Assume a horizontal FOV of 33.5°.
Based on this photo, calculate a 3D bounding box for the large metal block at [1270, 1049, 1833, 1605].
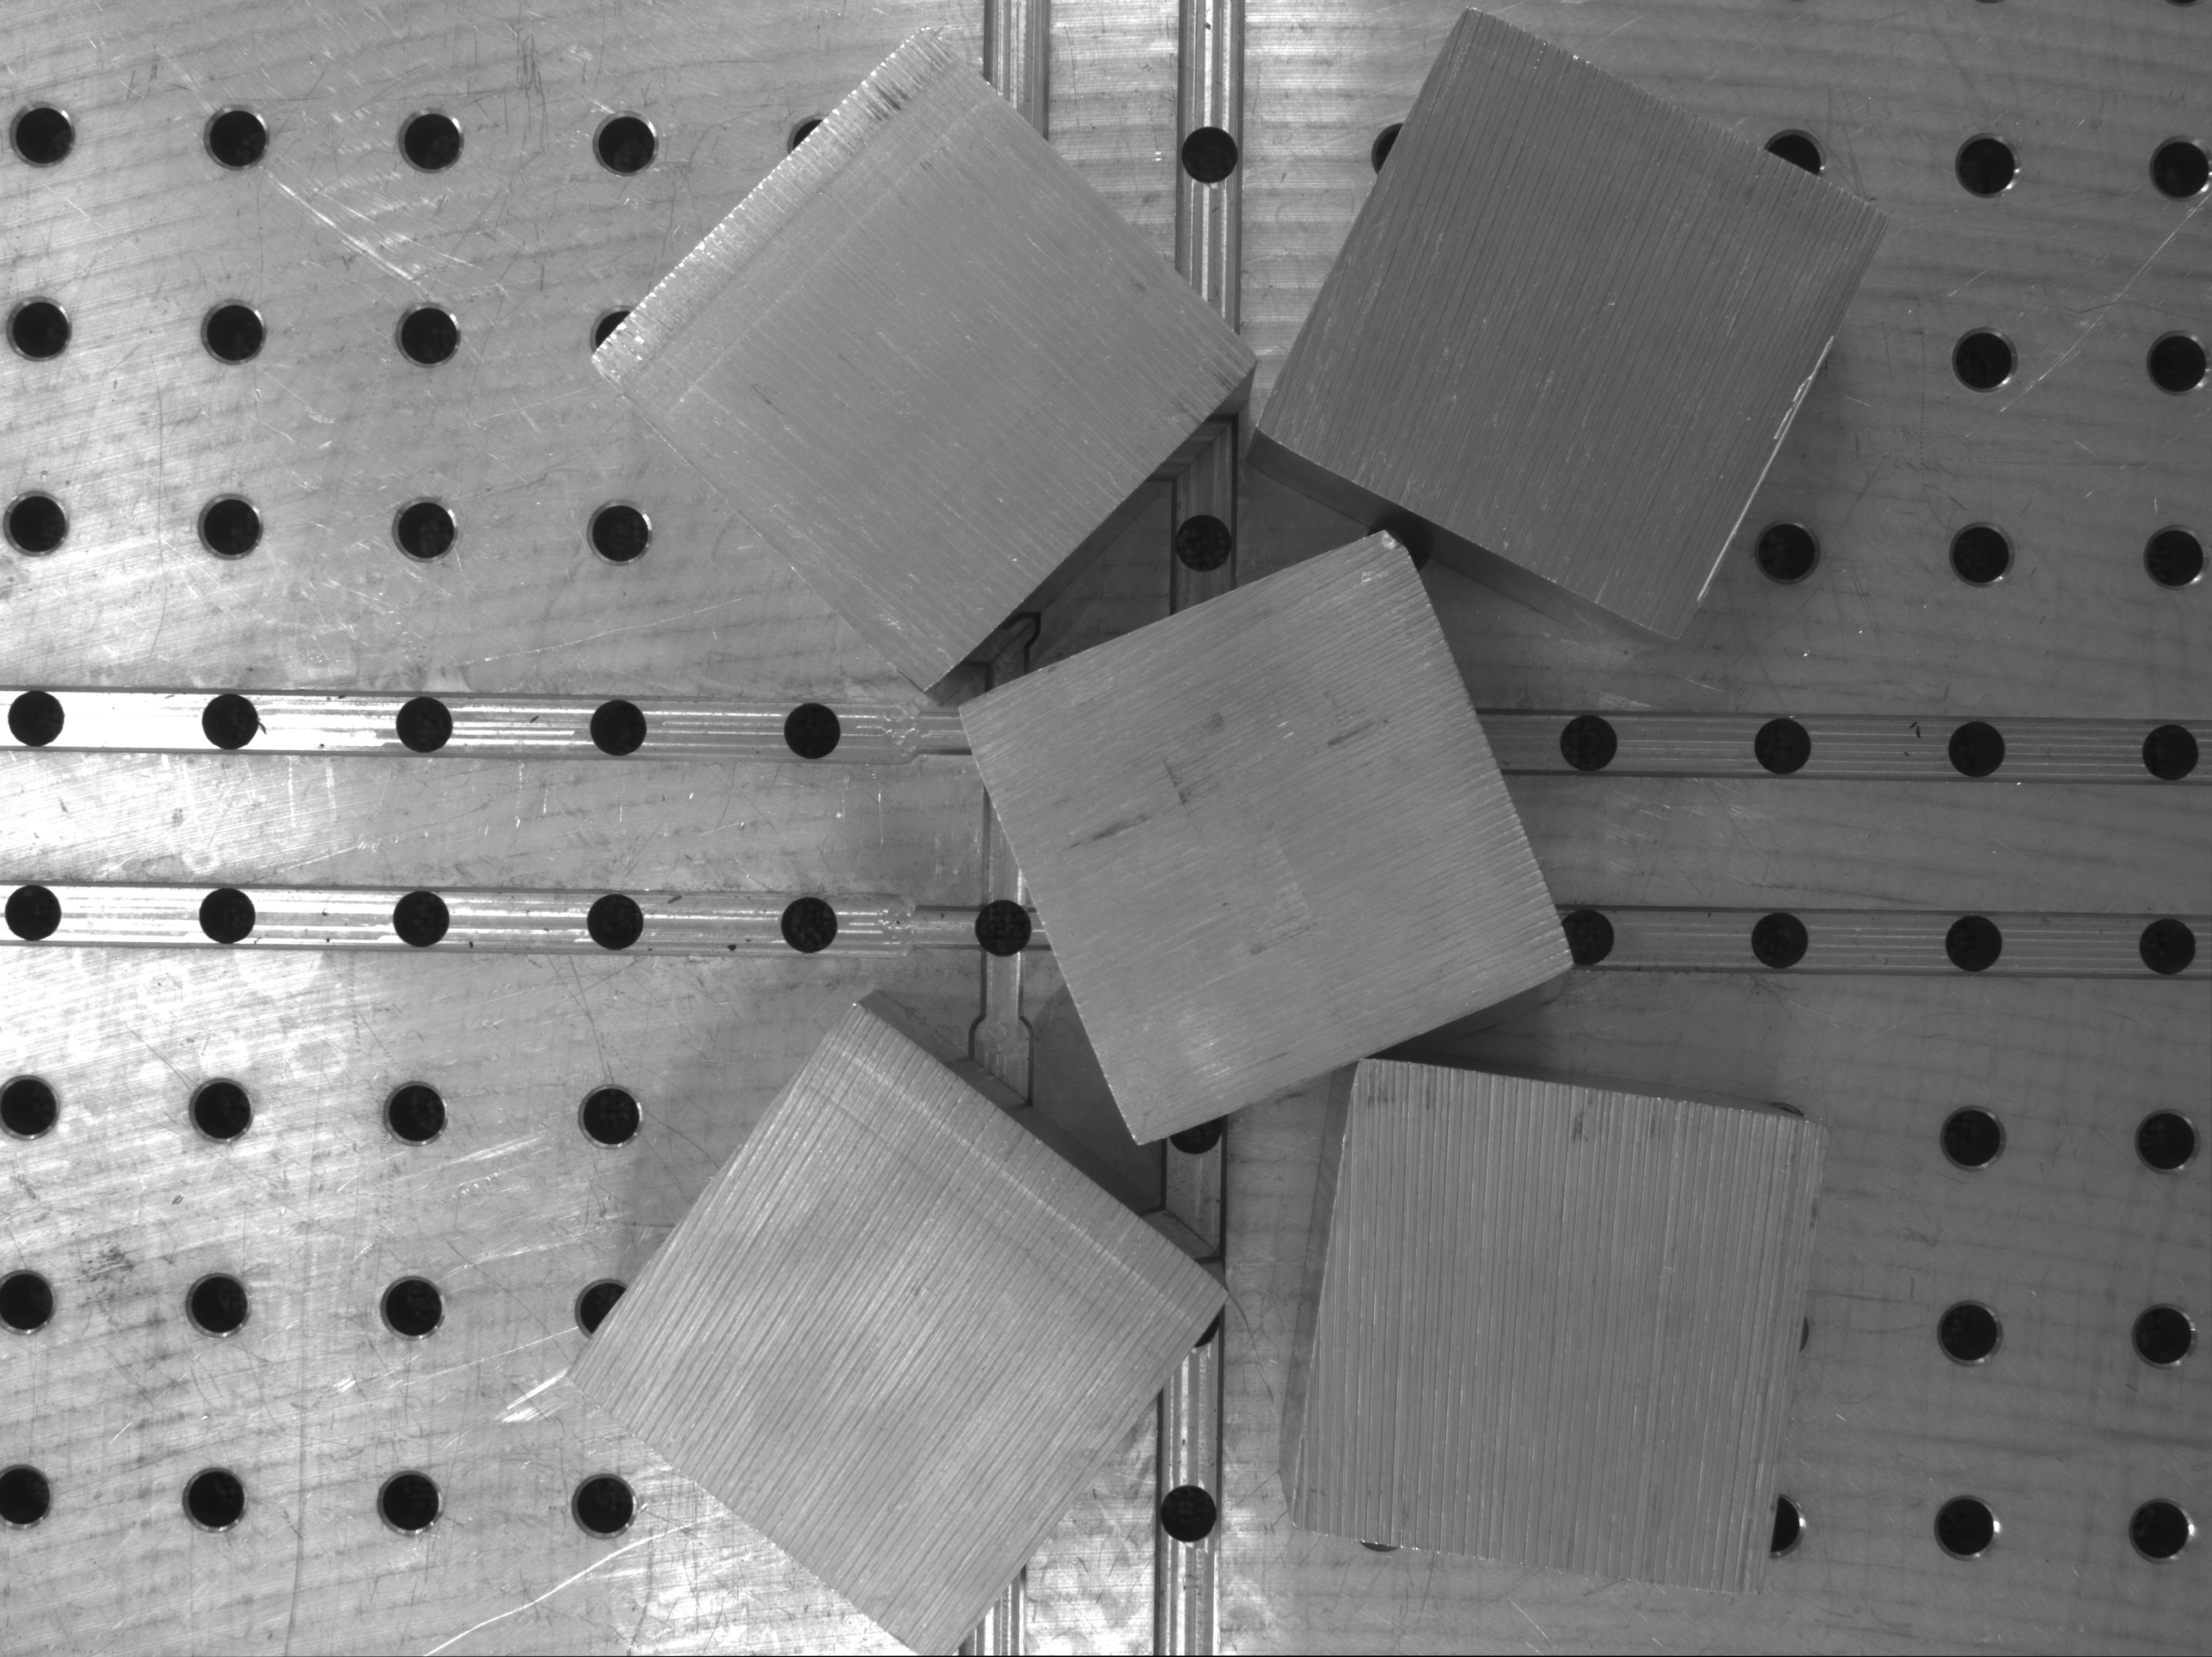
[{"bbox_3d":[0.075,0.083,0.635,0.080,0.050,0.080,9,90,0],"label":"large metal block"}]

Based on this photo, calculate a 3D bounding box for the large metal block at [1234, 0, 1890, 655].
[{"bbox_3d":[0.076,-0.084,0.635,0.080,0.050,0.080,26,90,-3],"label":"large metal block"}]

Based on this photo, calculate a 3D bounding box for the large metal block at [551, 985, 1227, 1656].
[{"bbox_3d":[-0.036,0.084,0.634,0.080,0.050,0.080,38,90,0],"label":"large metal block"}]

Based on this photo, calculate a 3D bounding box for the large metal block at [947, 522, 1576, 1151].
[{"bbox_3d":[0.026,0.001,0.635,0.080,0.050,0.080,-23,90,0],"label":"large metal block"}]

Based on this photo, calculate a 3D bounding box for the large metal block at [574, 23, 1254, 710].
[{"bbox_3d":[-0.032,-0.077,0.636,0.080,0.050,0.080,-44,89,0],"label":"large metal block"}]
